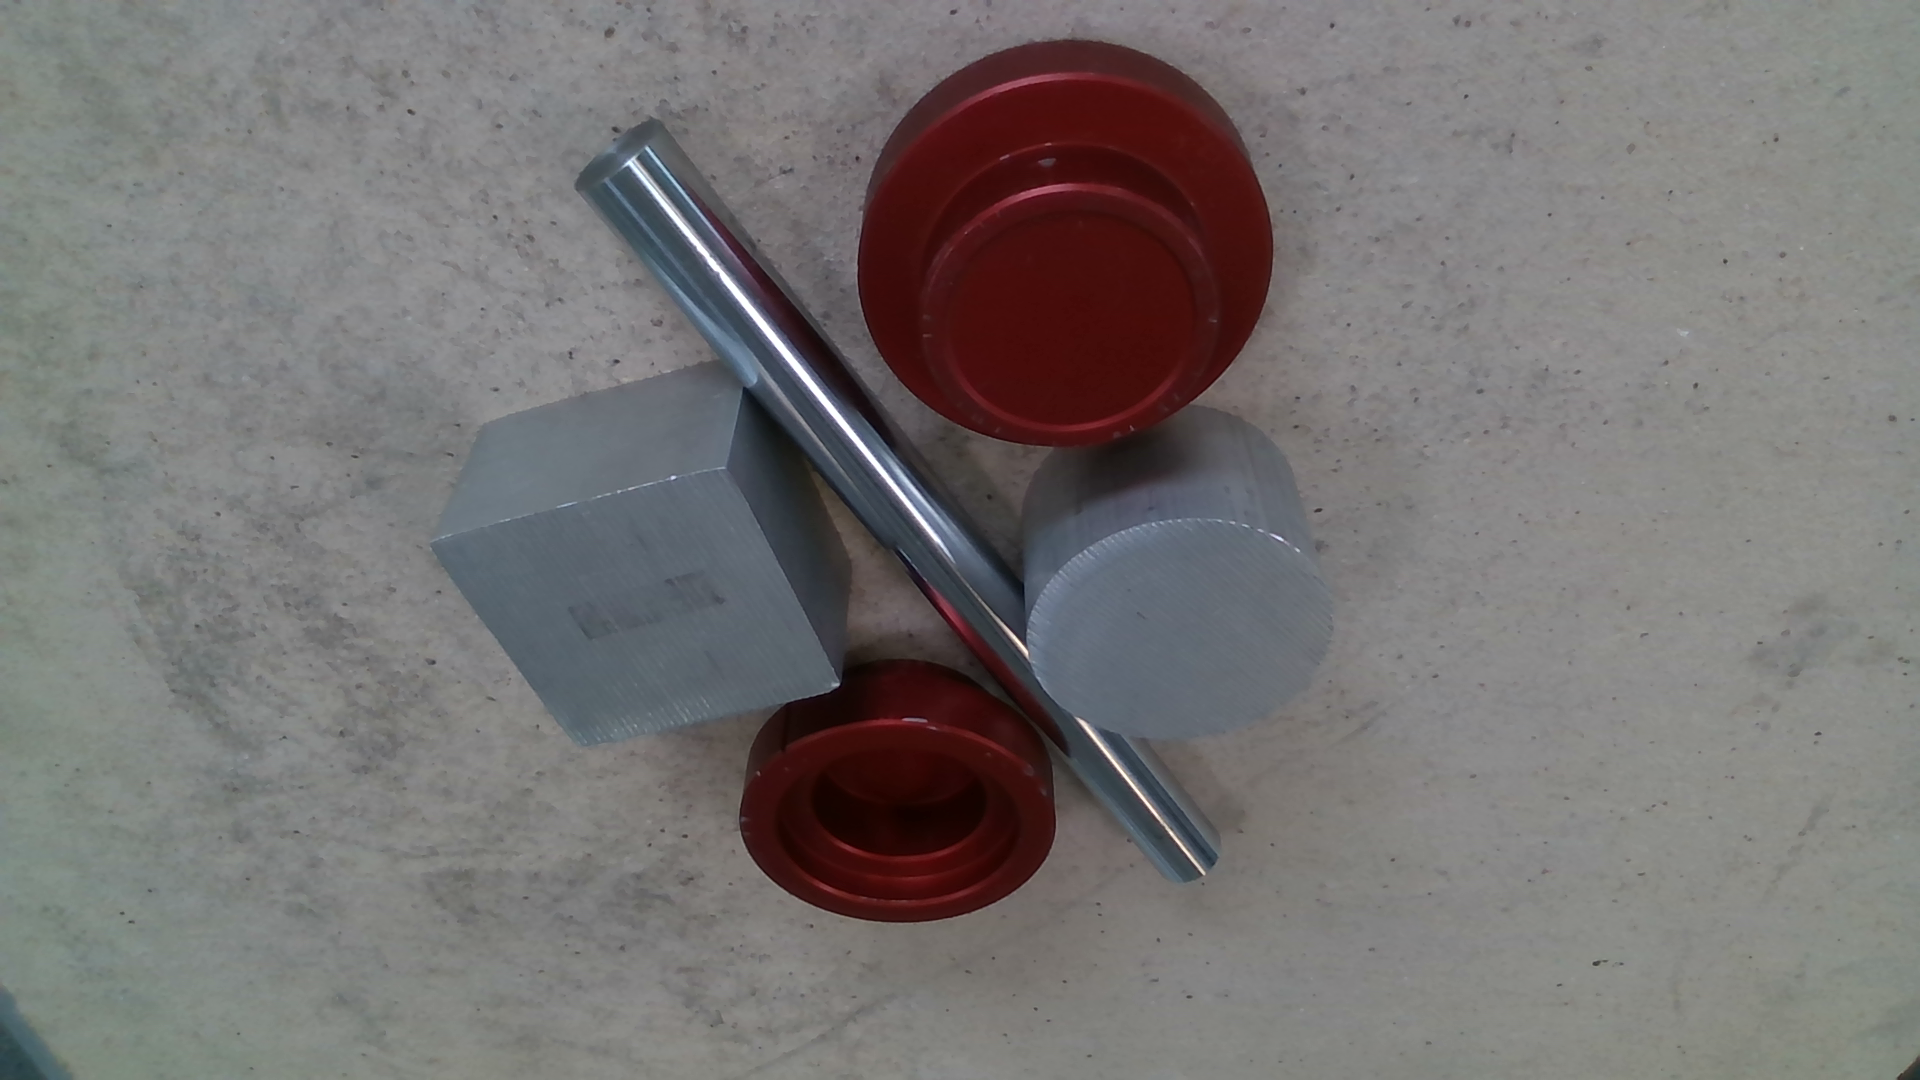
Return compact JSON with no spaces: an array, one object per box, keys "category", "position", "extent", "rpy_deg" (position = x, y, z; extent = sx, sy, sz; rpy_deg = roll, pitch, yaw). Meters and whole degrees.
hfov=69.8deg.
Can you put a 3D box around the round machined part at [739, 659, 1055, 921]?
[{"category":"round machined part","position":[-0.019,0.076,0.442],"extent":[0.098,0.042,0.098],"rpy_deg":[0,130,0]}]

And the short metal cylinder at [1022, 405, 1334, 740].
[{"category":"short metal cylinder","position":[0.057,0.010,0.380],"extent":[0.080,0.050,0.080],"rpy_deg":[0,130,0]}]

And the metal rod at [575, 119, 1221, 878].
[{"category":"metal rod","position":[0.001,0.009,0.398],"extent":[0.025,0.025,0.301],"rpy_deg":[-25,126,20]}]

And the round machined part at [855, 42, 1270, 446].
[{"category":"round machined part","position":[0.024,-0.061,0.326],"extent":[0.098,0.042,0.098],"rpy_deg":[0,130,0]}]

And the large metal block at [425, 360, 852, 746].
[{"category":"large metal block","position":[-0.082,0.004,0.377],"extent":[0.080,0.050,0.080],"rpy_deg":[-13,129,11]}]
